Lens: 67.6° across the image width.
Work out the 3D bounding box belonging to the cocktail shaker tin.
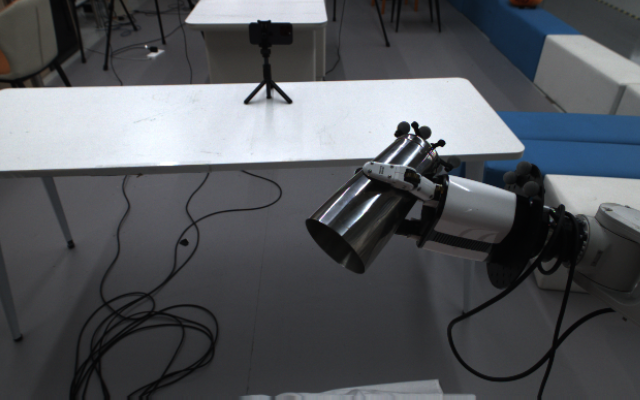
[{"bbox_3d":[0.073,-0.006,0.594,0.093,0.093,0.170,32,66,36],"label":"cocktail shaker tin"}]
